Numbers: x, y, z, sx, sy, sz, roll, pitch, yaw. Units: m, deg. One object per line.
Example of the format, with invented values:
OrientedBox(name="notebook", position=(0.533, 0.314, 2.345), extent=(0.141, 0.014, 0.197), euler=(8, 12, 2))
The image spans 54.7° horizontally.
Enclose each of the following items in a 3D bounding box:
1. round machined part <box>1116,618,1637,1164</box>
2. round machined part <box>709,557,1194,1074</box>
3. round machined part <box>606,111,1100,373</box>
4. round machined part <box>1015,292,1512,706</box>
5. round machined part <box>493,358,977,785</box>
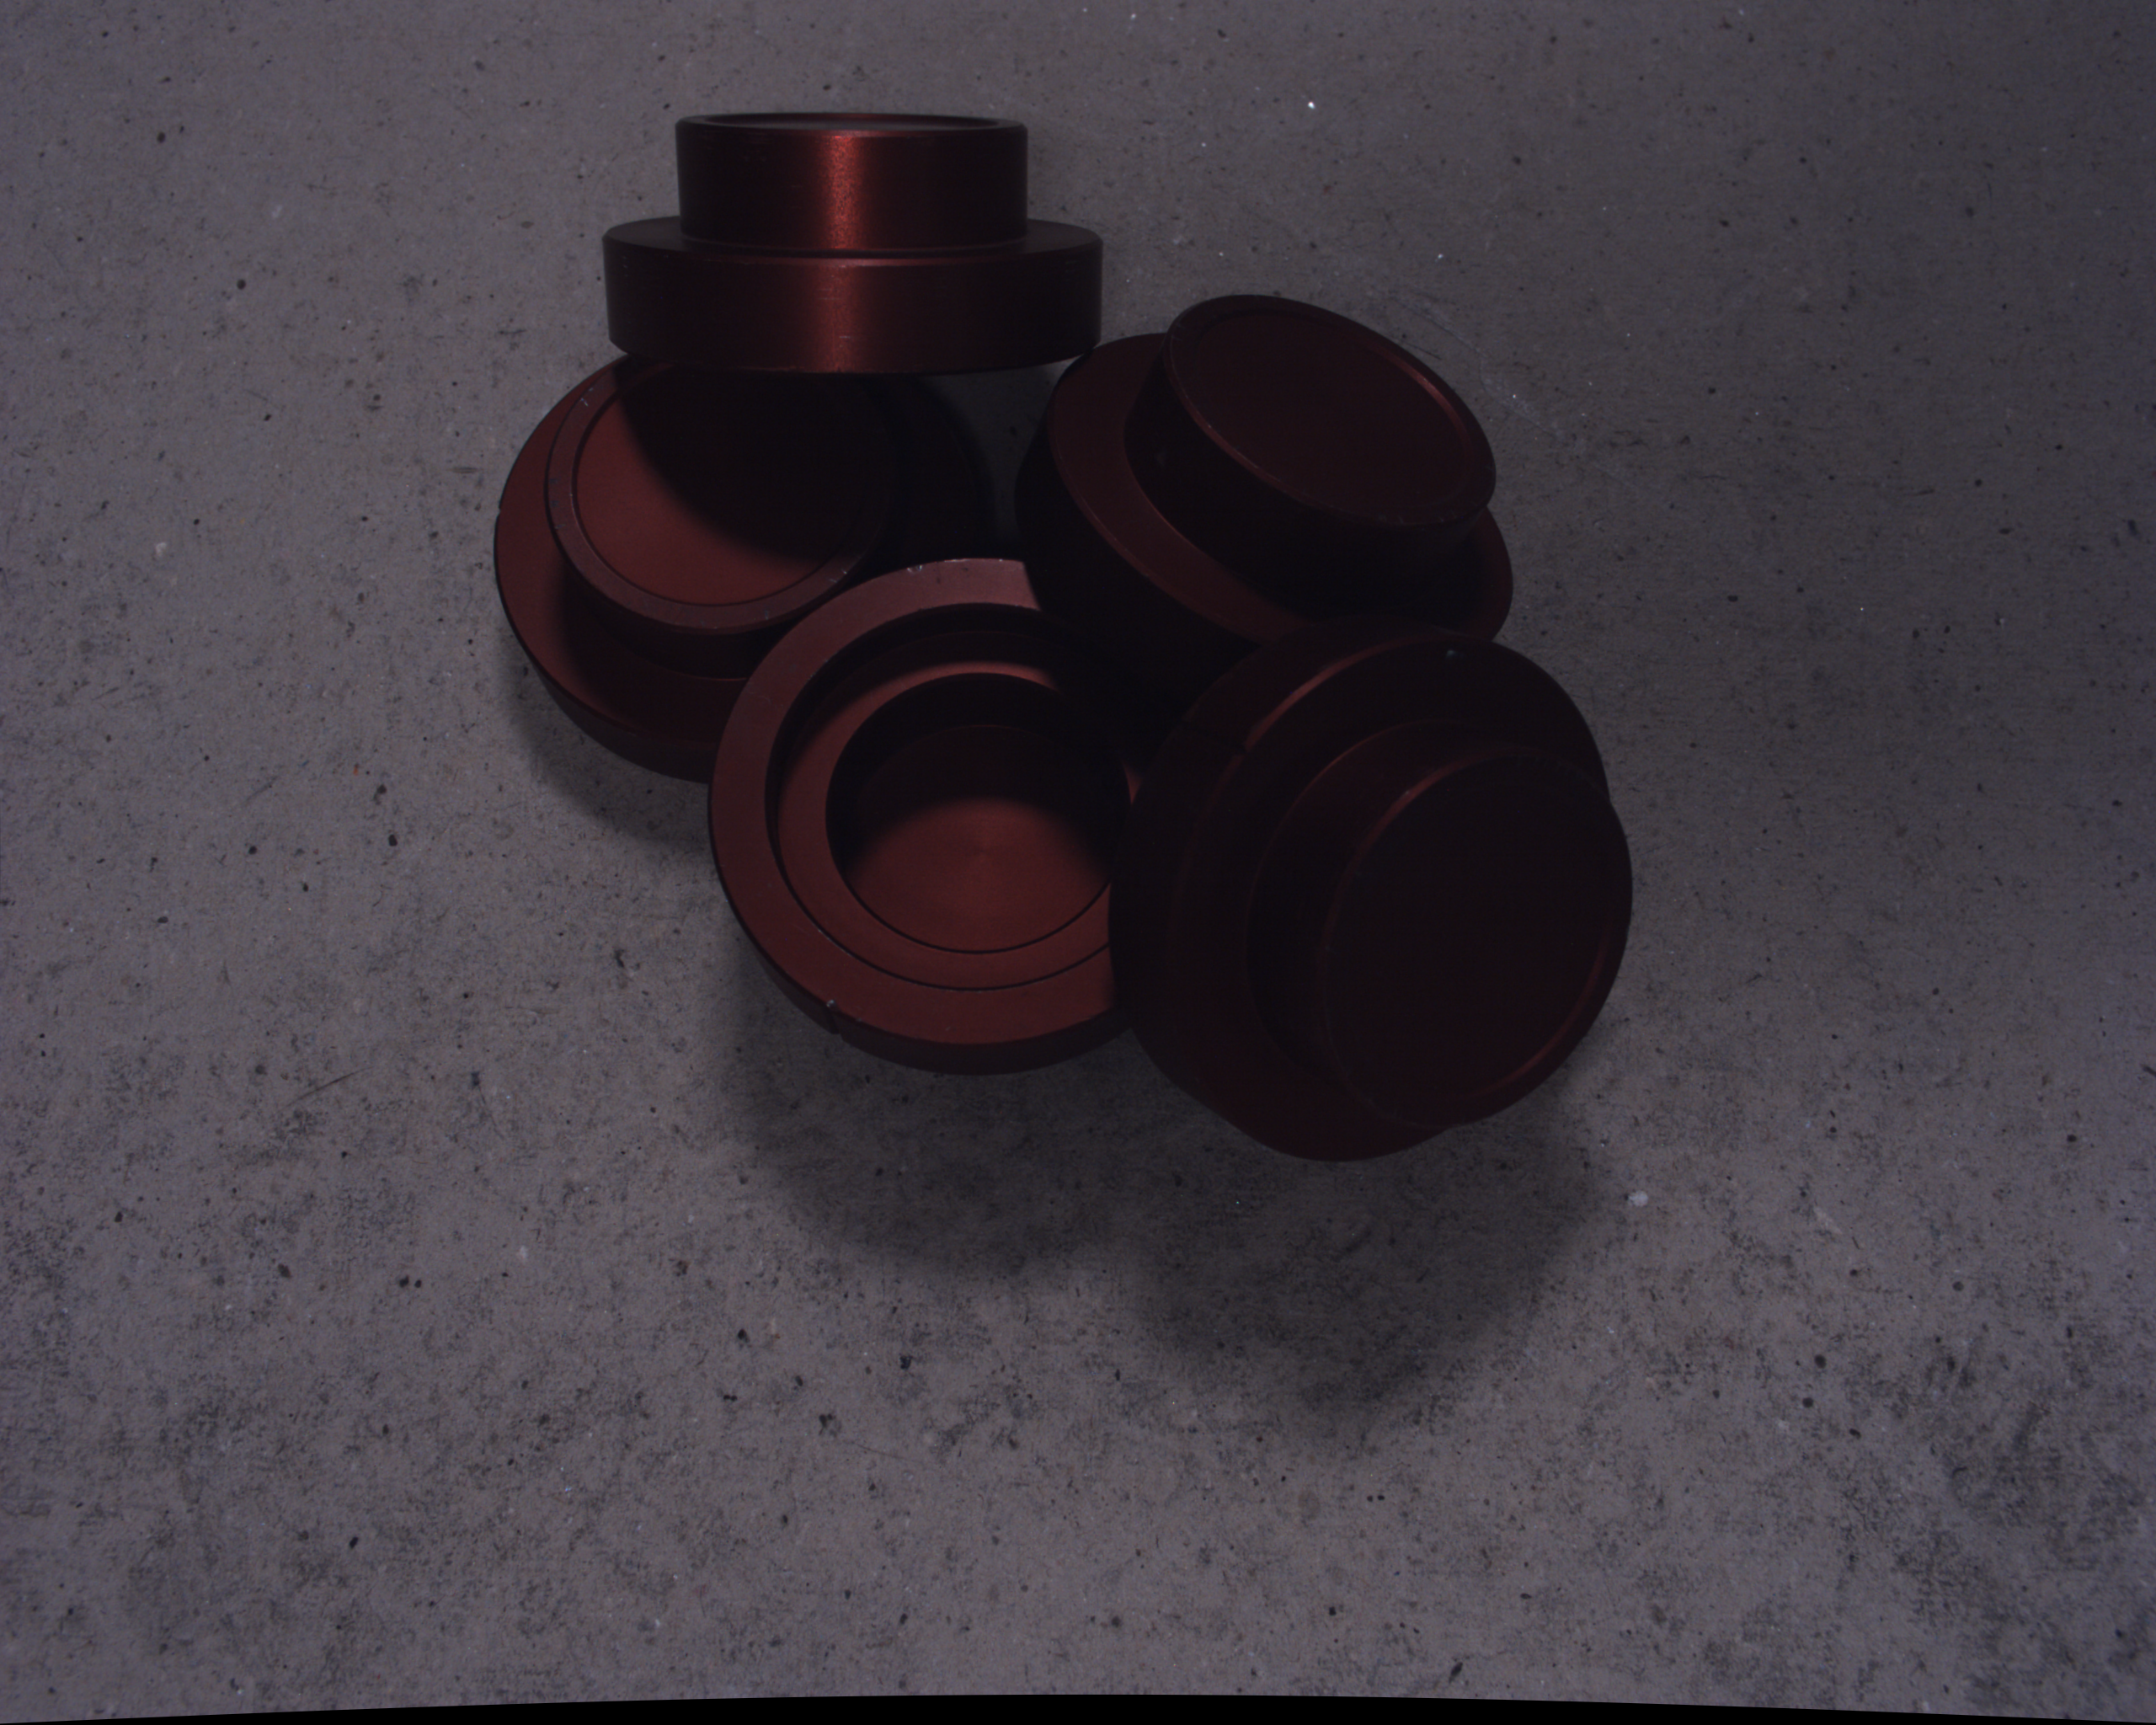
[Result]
OrientedBox(name="round machined part", position=(0.059, 0.009, 0.368), extent=(0.098, 0.098, 0.042), euler=(-41, 35, -14))
OrientedBox(name="round machined part", position=(-0.019, -0.006, 0.402), extent=(0.099, 0.042, 0.098), euler=(0, 70, -1))
OrientedBox(name="round machined part", position=(-0.044, -0.126, 0.415), extent=(0.099, 0.098, 0.042), euler=(1, 112, 0))
OrientedBox(name="round machined part", position=(0.041, -0.073, 0.404), extent=(0.099, 0.042, 0.098), euler=(15, 44, -15))
OrientedBox(name="round machined part", position=(-0.070, -0.068, 0.425), extent=(0.099, 0.042, 0.098), euler=(0, 70, -1))
